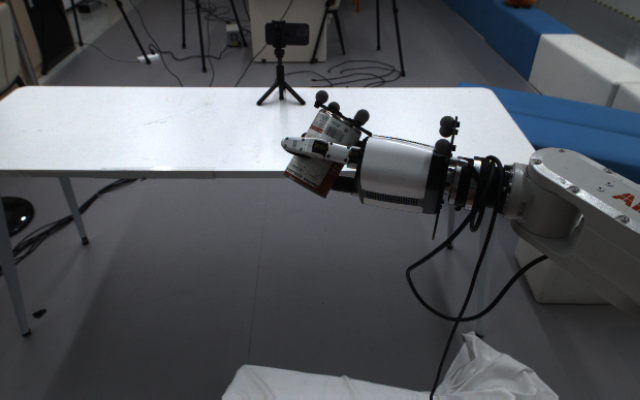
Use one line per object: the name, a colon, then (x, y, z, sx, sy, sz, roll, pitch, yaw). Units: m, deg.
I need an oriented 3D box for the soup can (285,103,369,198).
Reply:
soup can: (0.004, -0.062, 0.655, 0.067, 0.101, 0.067, 30, 2, -1)
